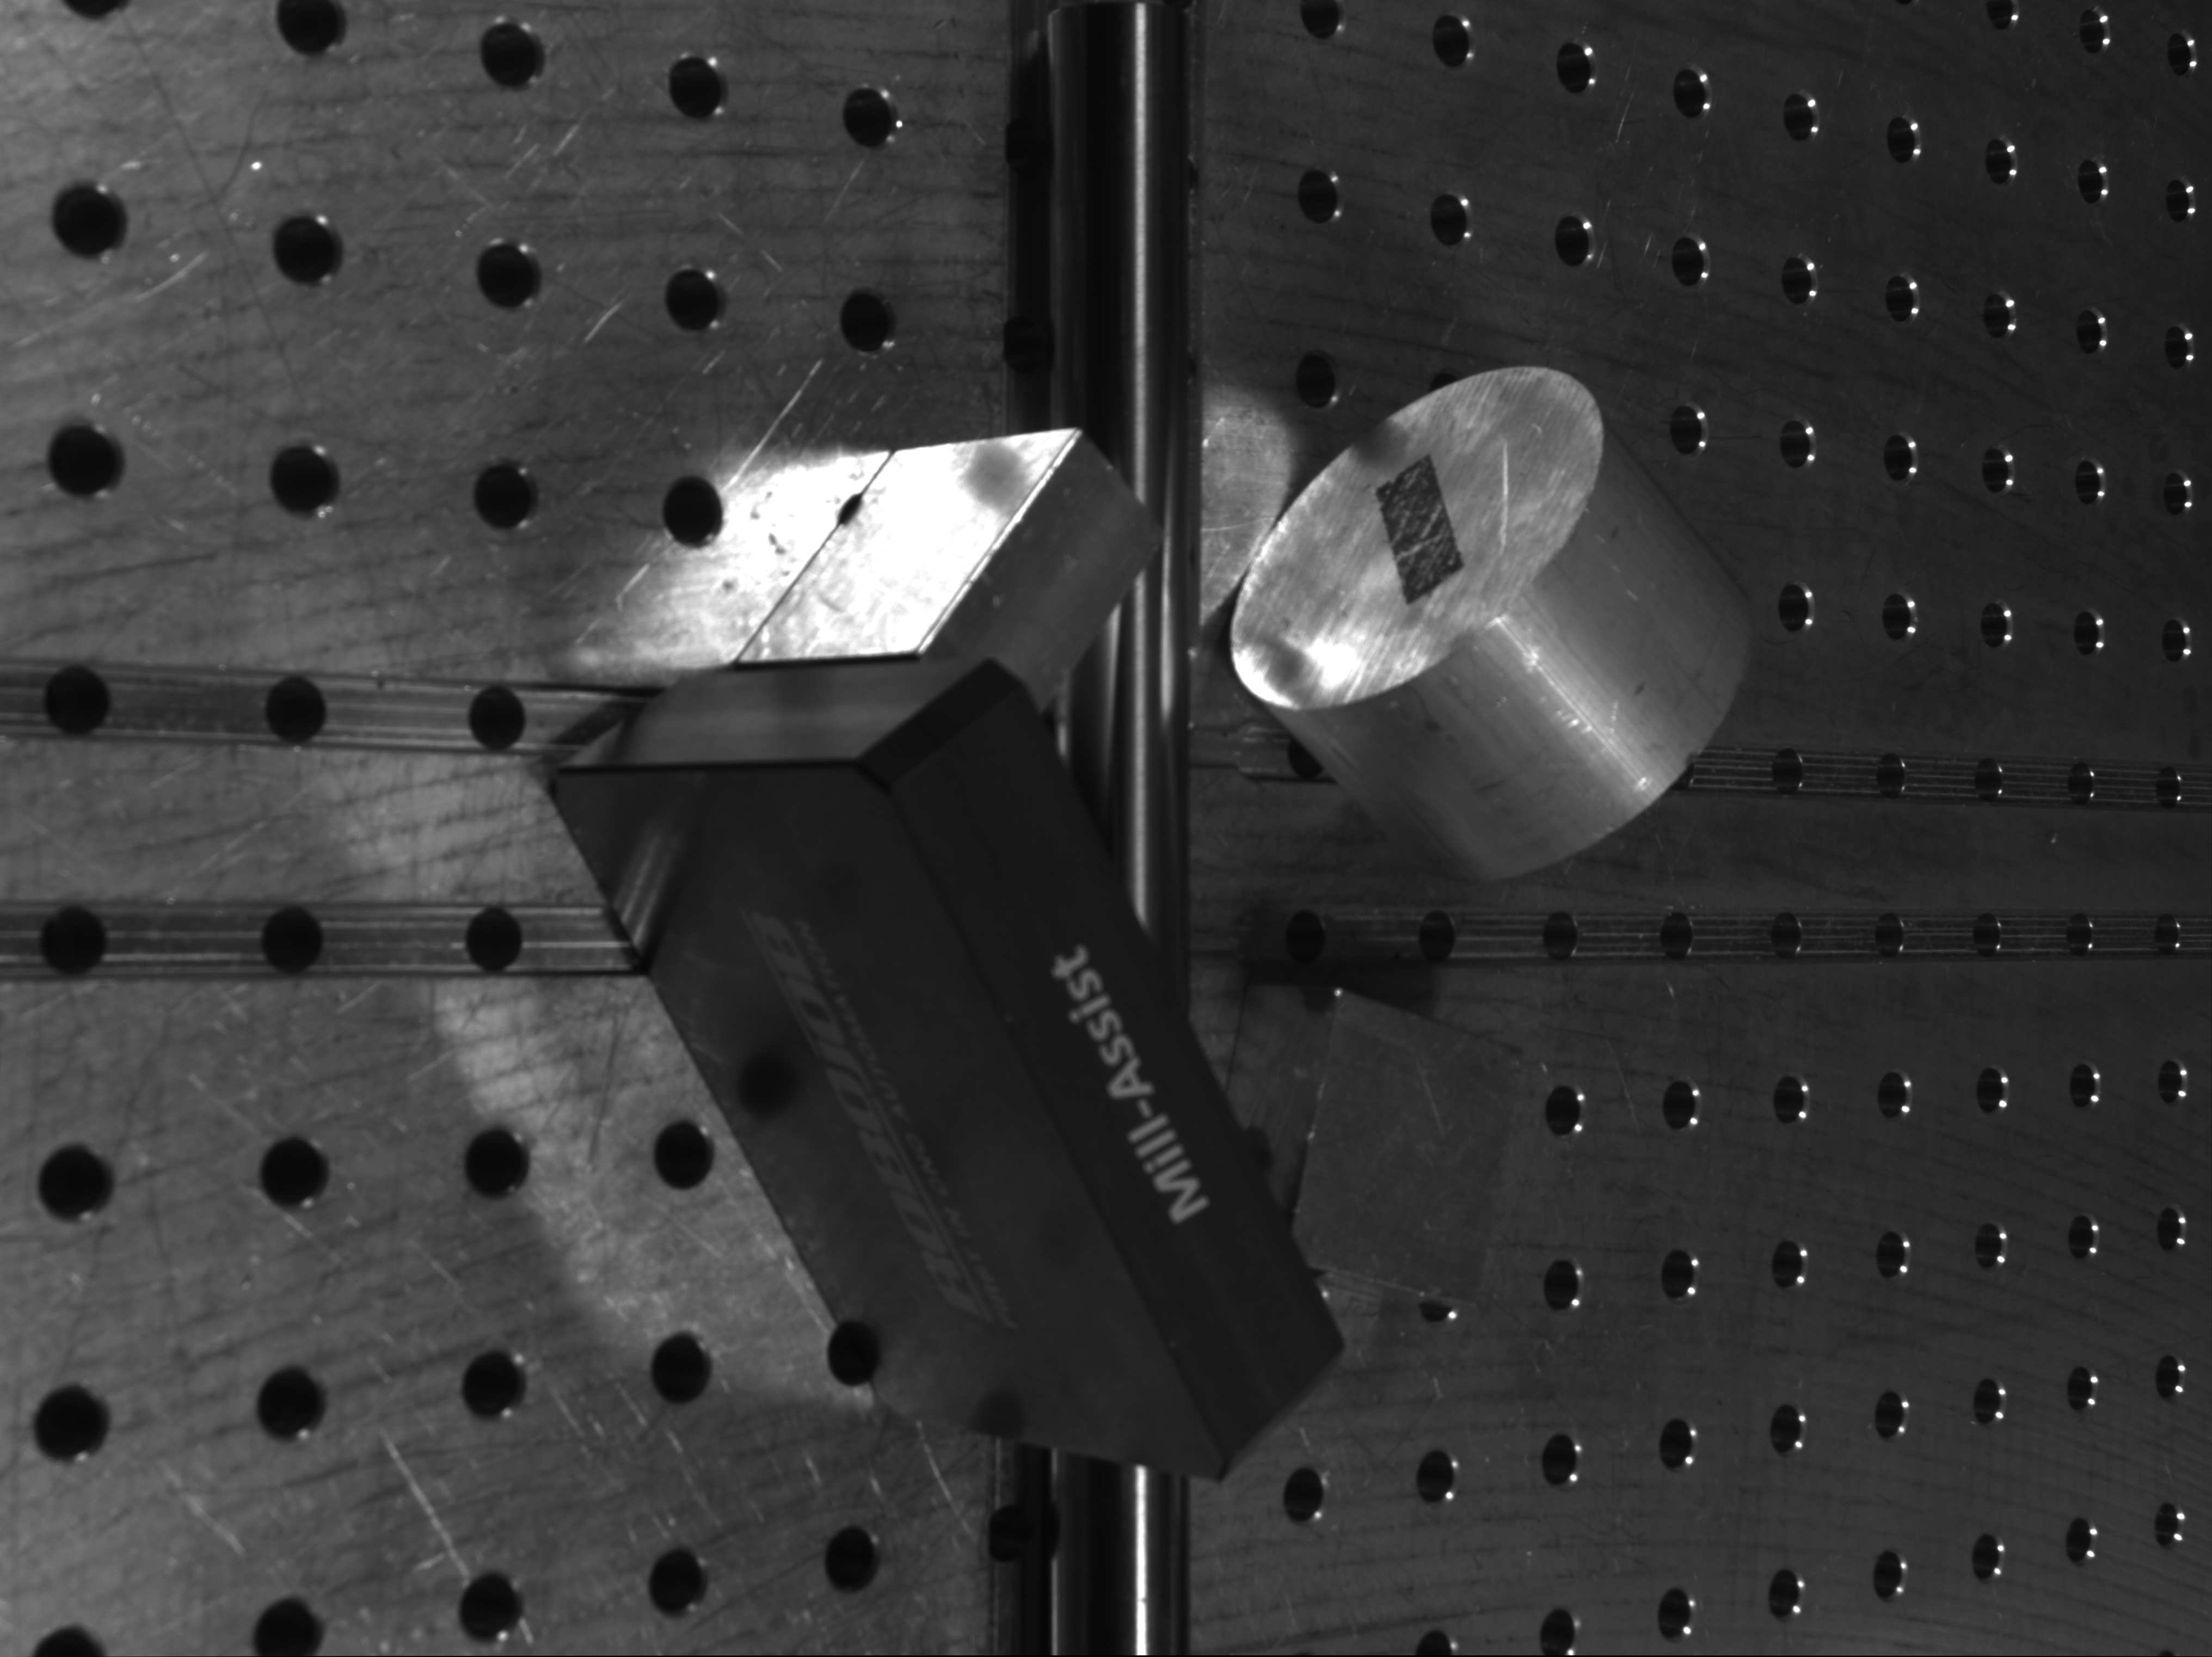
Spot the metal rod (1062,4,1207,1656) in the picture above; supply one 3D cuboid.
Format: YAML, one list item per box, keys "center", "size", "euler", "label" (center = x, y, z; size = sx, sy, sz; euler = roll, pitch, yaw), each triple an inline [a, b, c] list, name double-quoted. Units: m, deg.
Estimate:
- center: [0.005, 0.008, 0.644]
  size: [0.025, 0.025, 0.300]
  euler: [0, 90, -40]
  label: "metal rod"

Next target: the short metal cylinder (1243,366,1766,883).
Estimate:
- center: [0.072, -0.037, 0.664]
  size: [0.050, 0.080, 0.080]
  euler: [45, 63, -30]
  label: "short metal cylinder"

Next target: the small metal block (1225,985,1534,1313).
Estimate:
- center: [0.049, 0.060, 0.682]
  size: [0.050, 0.025, 0.050]
  euler: [20, 78, -38]
  label: "small metal block"

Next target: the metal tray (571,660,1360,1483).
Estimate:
- center: [-0.023, 0.038, 0.578]
  size: [0.030, 0.090, 0.130]
  euler: [-39, 114, -33]
  label: "metal tray"

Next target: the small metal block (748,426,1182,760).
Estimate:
- center: [-0.023, -0.038, 0.604]
  size: [0.025, 0.050, 0.050]
  euler: [49, 61, -29]
  label: "small metal block"
